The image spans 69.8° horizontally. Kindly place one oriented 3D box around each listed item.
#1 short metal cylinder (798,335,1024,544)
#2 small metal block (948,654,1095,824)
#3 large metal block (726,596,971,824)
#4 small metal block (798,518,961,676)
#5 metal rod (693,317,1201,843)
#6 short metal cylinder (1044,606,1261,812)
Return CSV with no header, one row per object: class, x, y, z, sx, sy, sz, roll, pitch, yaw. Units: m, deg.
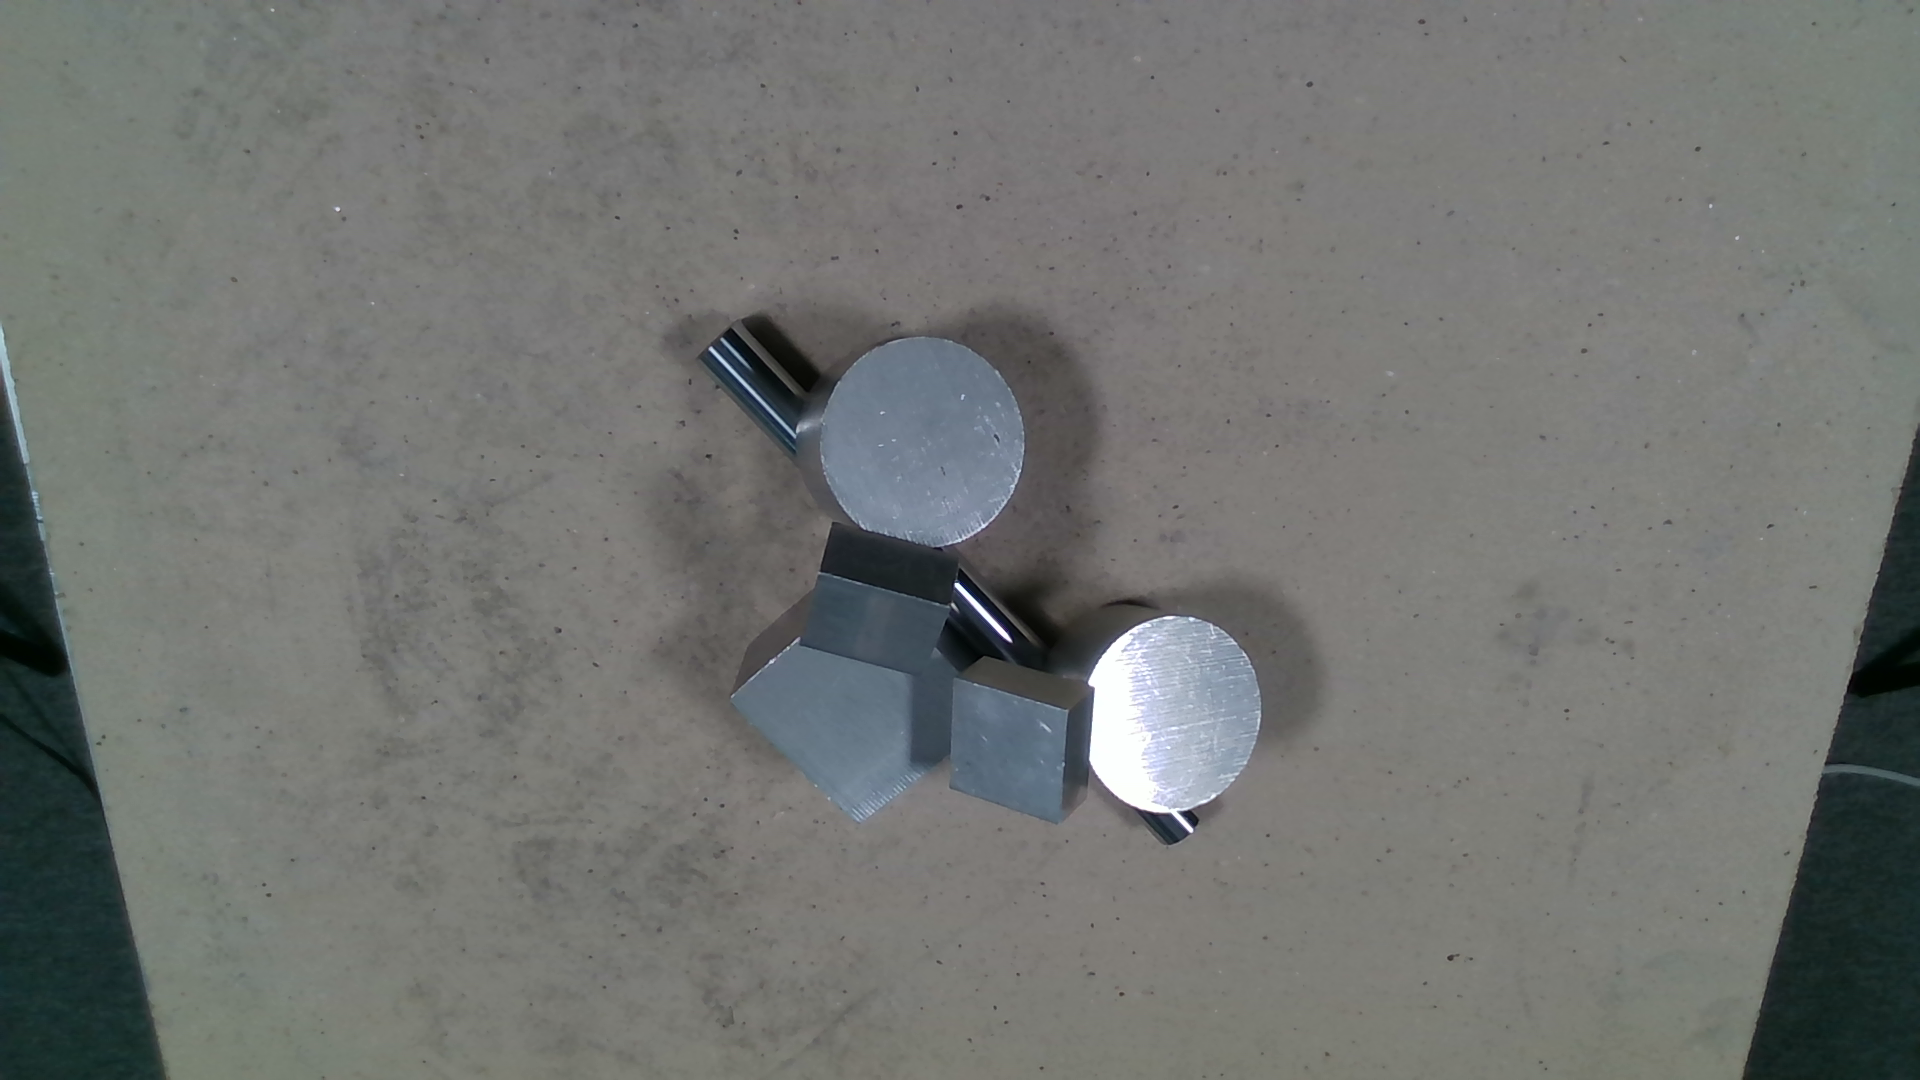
short metal cylinder,-0.021,-0.038,0.542,0.080,0.050,0.080,-1,94,-18
small metal block,0.024,0.078,0.547,0.050,0.025,0.050,13,113,28
large metal block,-0.040,0.060,0.592,0.080,0.050,0.080,-40,105,13
small metal block,-0.032,0.023,0.527,0.050,0.025,0.050,15,141,-5
metal rod,0.001,0.024,0.593,0.025,0.025,0.300,-40,105,13
short metal cylinder,0.079,0.069,0.581,0.080,0.050,0.080,-1,94,-18
